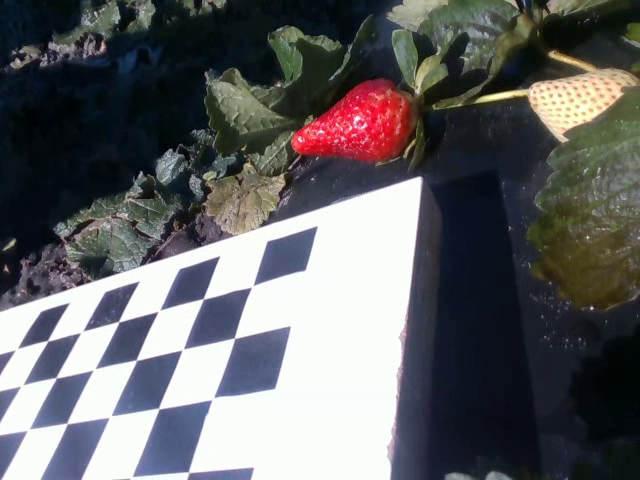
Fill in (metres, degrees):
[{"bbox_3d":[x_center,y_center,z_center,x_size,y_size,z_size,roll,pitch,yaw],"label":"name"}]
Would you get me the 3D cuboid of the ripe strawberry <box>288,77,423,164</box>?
[{"bbox_3d":[0.015,-0.052,0.288,0.068,0.040,0.048,-23,34,11],"label":"ripe strawberry"}]
